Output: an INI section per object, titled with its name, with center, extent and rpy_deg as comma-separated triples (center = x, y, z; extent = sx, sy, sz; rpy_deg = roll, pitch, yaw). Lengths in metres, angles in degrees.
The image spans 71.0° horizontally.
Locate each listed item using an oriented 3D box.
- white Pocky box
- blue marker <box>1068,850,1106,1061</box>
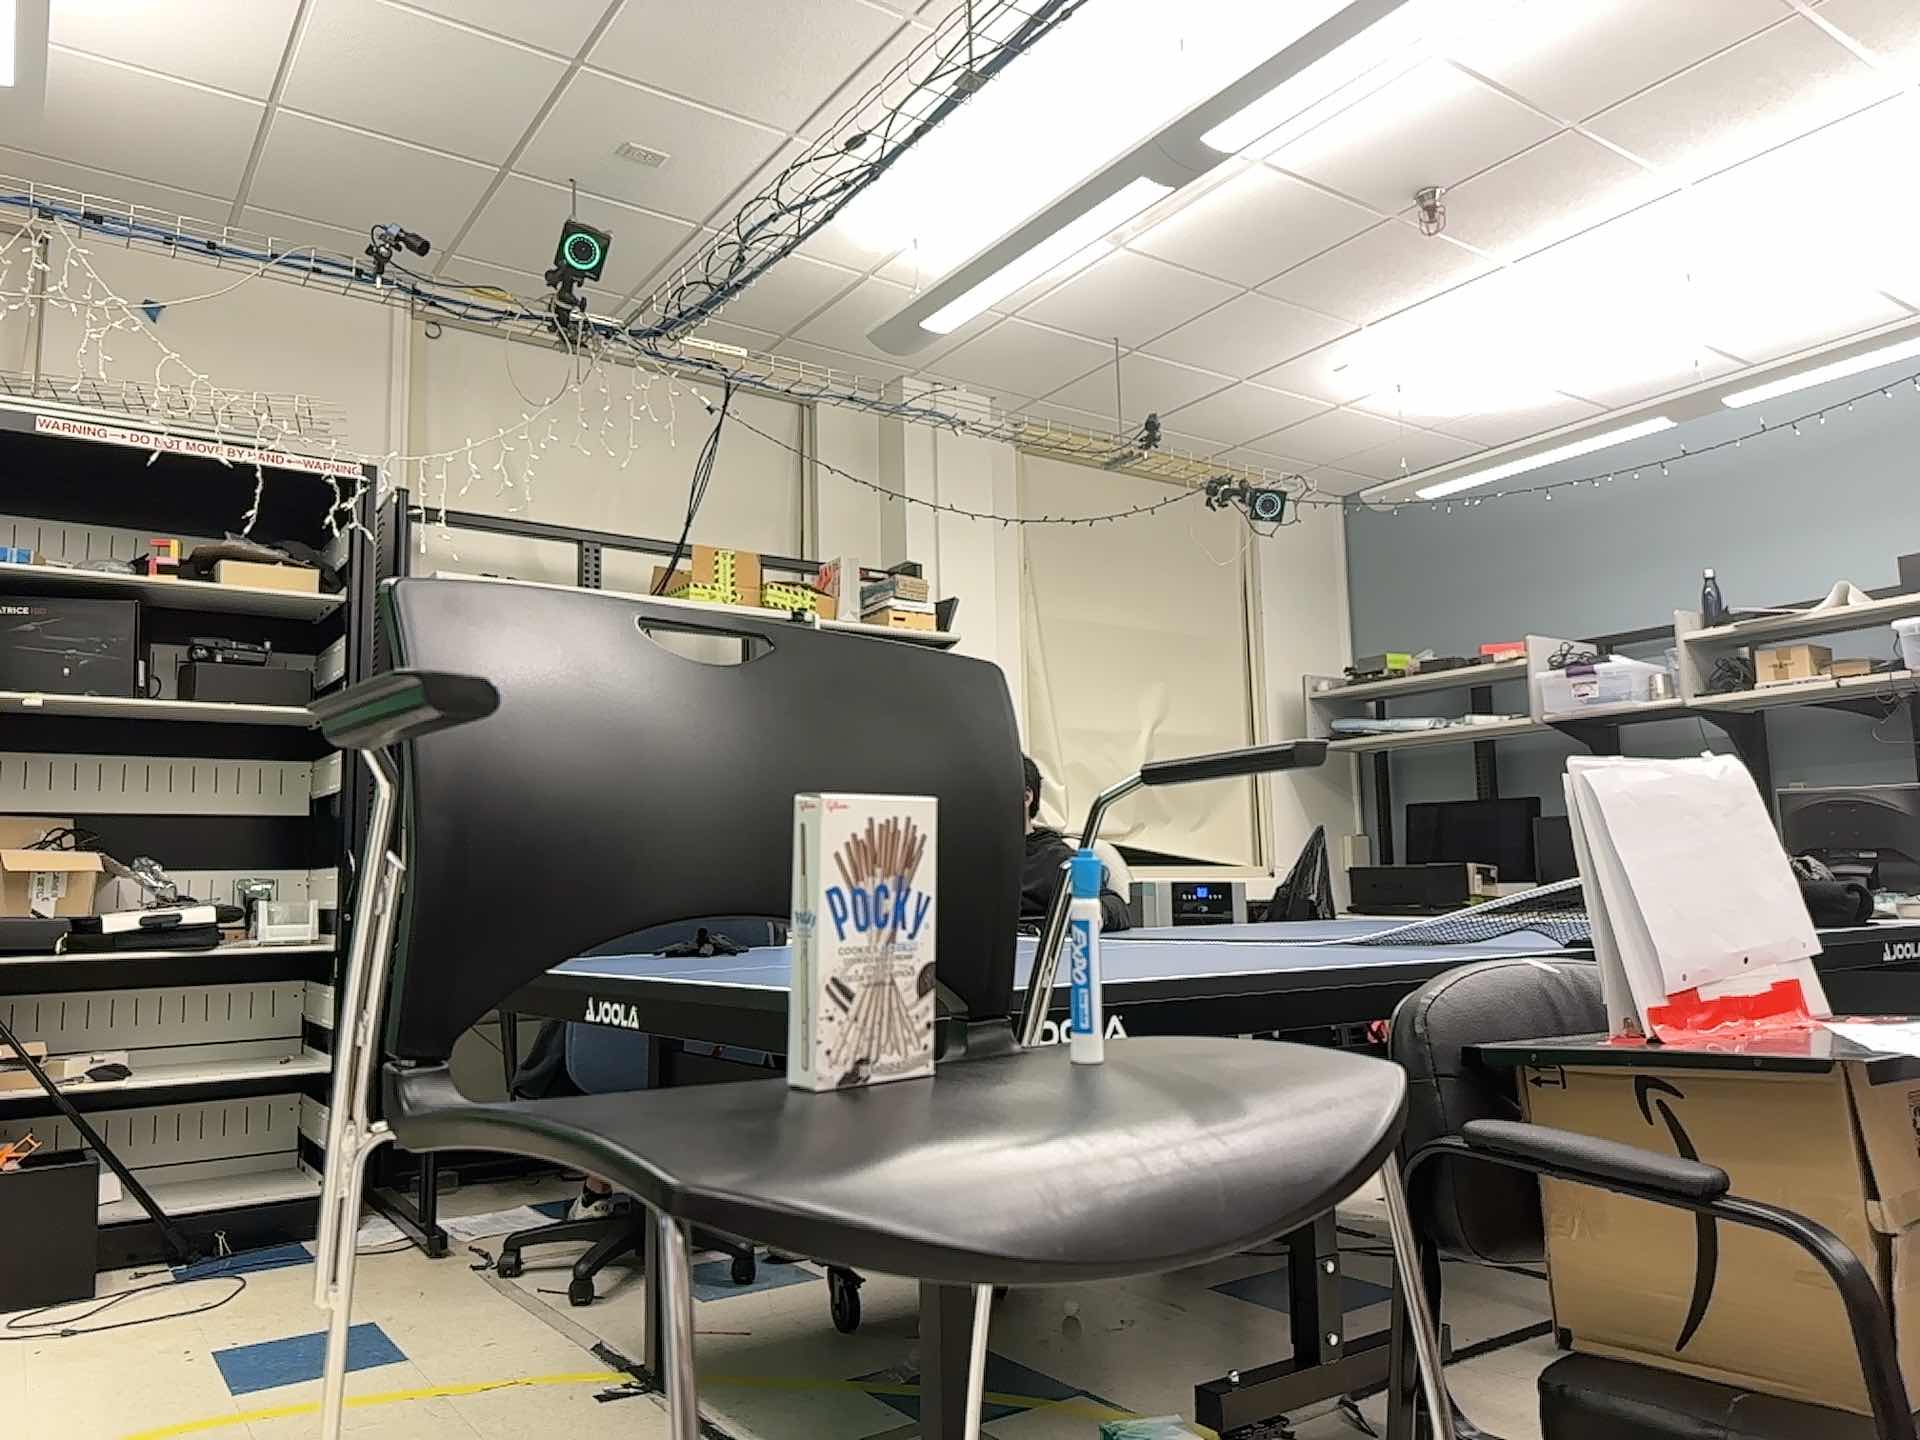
[white Pocky box]
center = -0.052, 0.117, 0.715
extent = 0.084, 0.154, 0.028
rpy_deg = 4, -7, -40
[blue marker]
center = 0.074, 0.136, 0.786
extent = 0.020, 0.121, 0.020
rpy_deg = -1, -4, 0
